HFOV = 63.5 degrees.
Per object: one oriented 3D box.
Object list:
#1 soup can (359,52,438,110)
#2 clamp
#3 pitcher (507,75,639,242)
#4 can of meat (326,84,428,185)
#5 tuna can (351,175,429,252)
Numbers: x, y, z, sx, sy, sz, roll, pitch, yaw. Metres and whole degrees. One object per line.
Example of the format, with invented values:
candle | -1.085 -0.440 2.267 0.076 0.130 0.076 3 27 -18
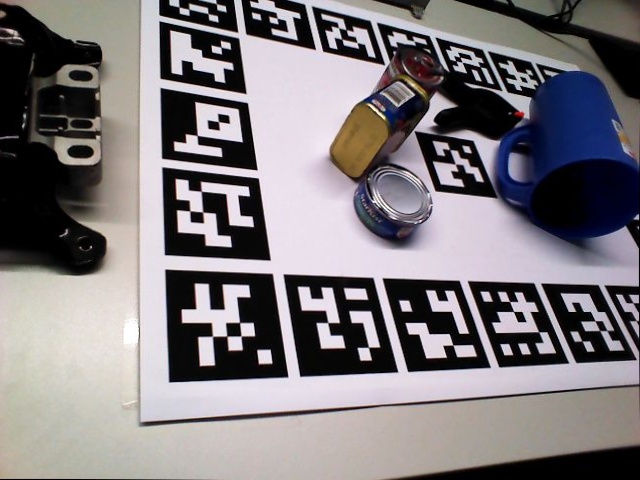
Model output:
soup can | 0.092 -0.173 0.652 0.068 0.103 0.067 10 58 -17
clamp | 0.211 -0.195 0.774 0.165 0.037 0.121 7 53 -26
pitcher | 0.355 -0.125 0.718 0.189 0.134 0.241 8 46 6
can of meat | 0.063 -0.119 0.597 0.058 0.102 0.083 48 56 8
tuna can | 0.080 -0.030 0.595 0.085 0.034 0.085 11 57 -19
